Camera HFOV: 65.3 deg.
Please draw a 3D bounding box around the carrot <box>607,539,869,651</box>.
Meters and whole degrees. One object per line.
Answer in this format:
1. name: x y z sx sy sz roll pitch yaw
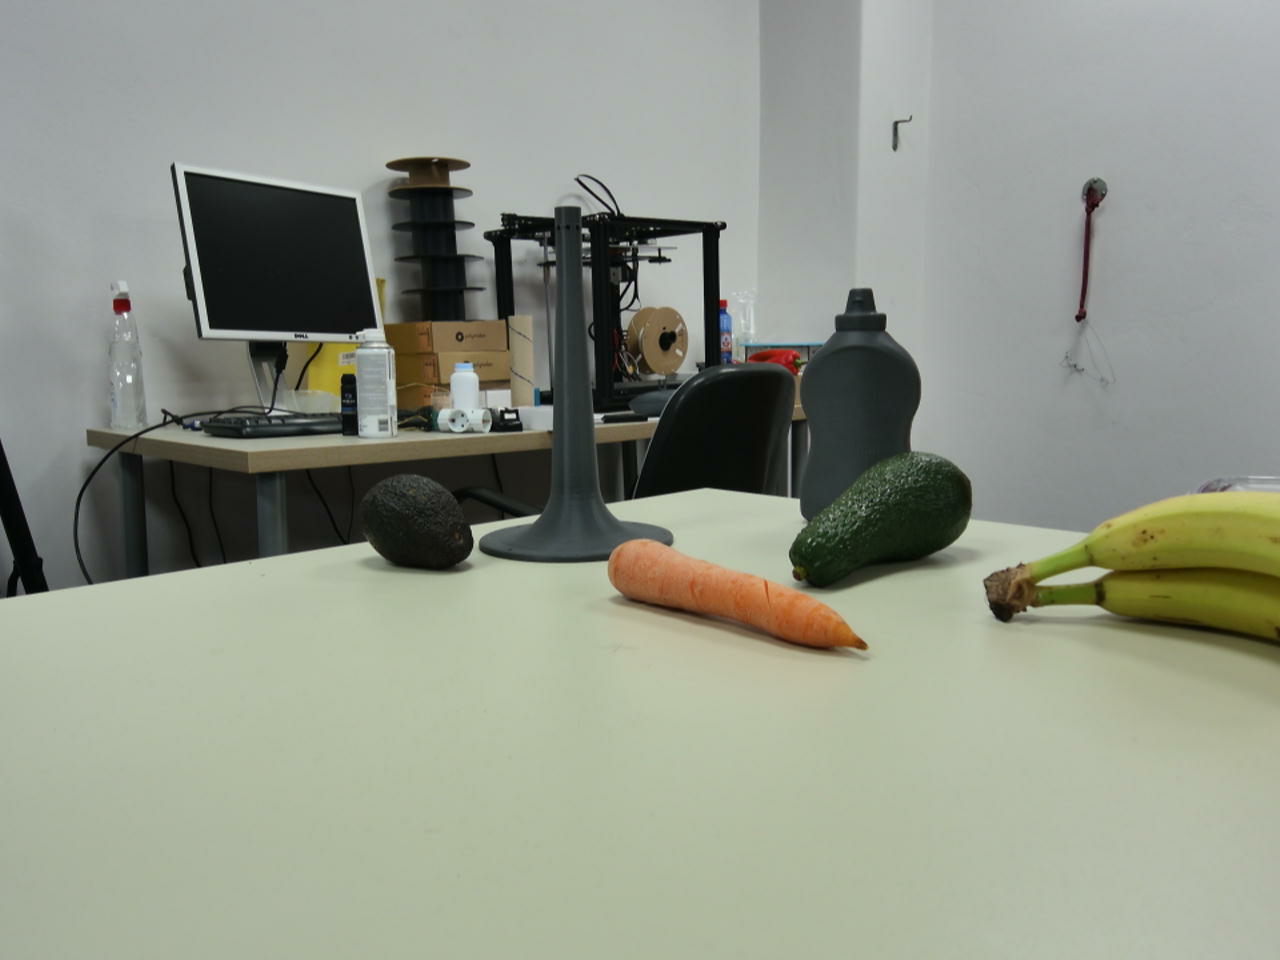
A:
1. carrot: 0.053 0.064 0.584 0.039 0.041 0.196 -5 8 -43
